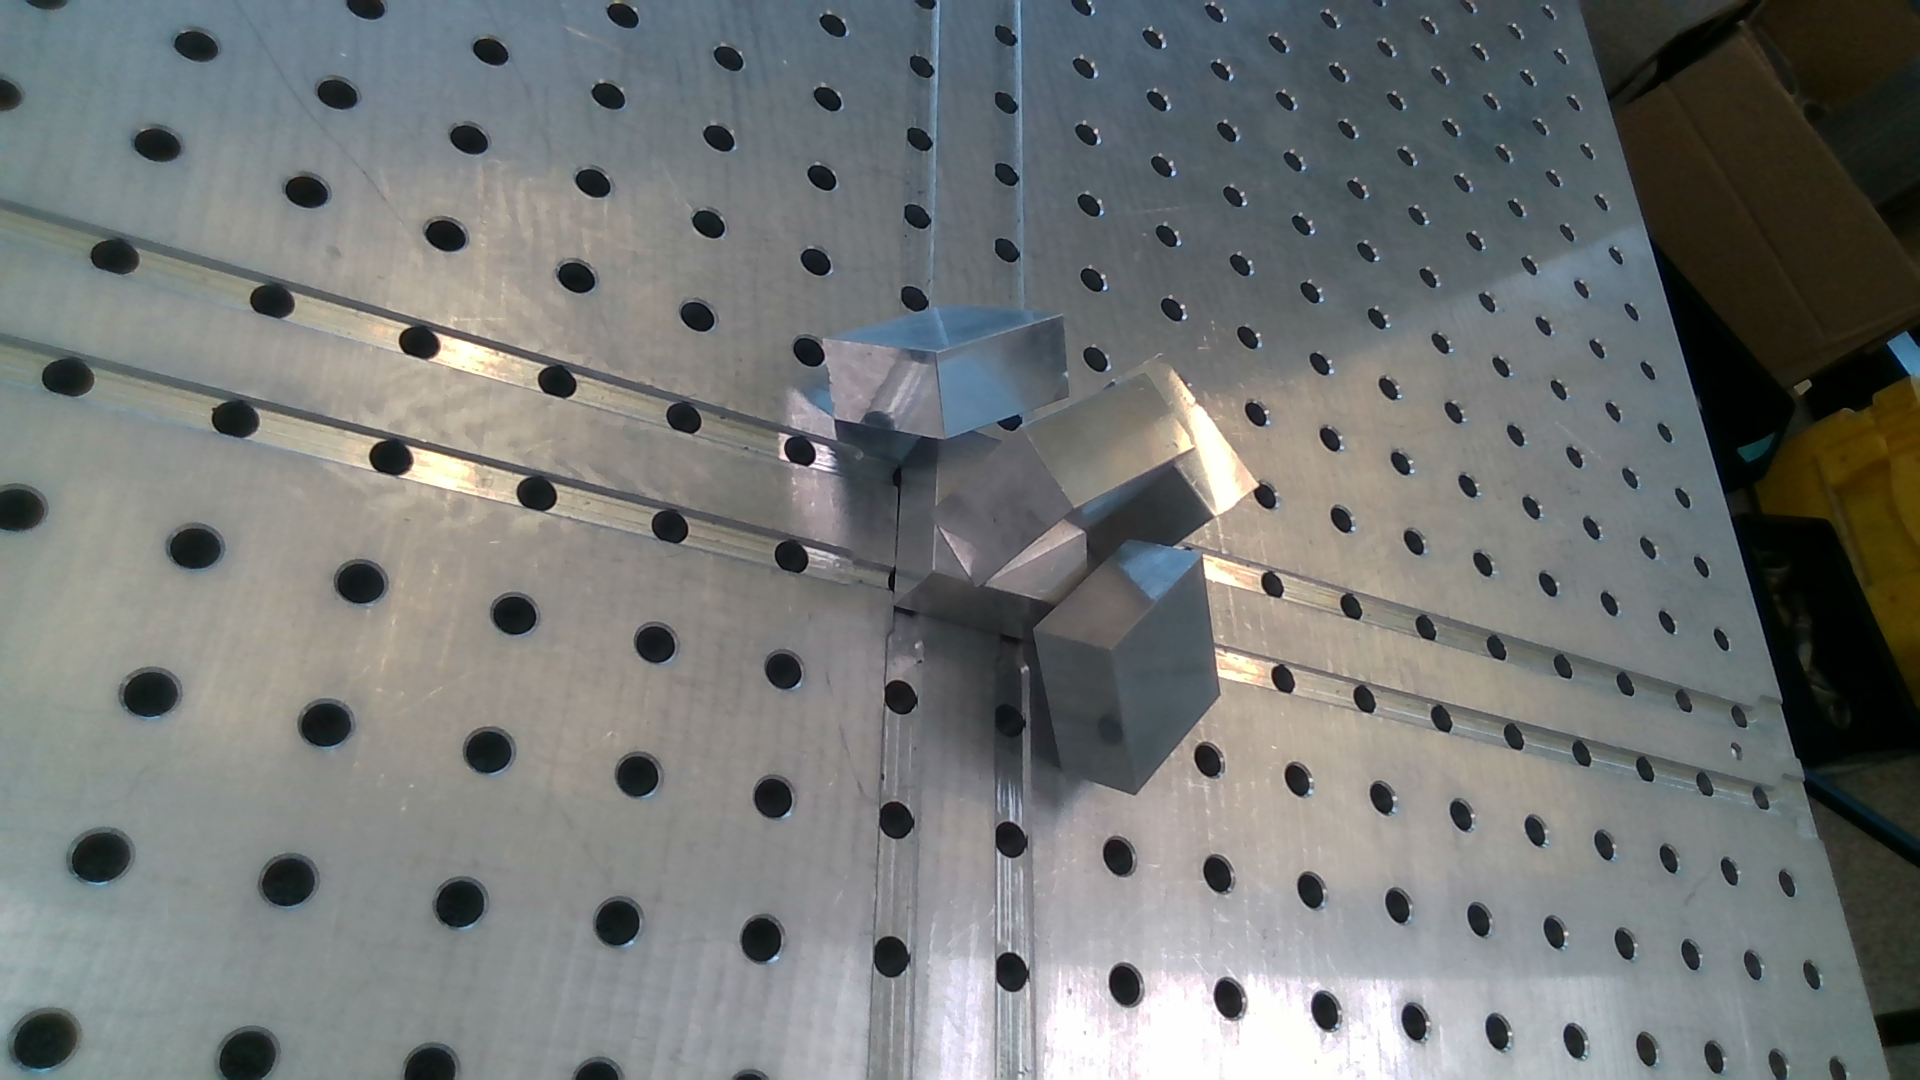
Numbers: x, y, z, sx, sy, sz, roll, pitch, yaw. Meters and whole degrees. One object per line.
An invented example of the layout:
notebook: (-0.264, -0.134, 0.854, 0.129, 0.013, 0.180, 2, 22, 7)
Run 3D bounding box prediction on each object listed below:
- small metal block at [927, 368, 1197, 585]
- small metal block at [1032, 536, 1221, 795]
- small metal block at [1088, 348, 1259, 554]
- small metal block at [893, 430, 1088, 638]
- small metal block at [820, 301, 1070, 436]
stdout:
small metal block: (0.027, -0.017, 0.373, 0.050, 0.050, 0.025, -25, 81, -38)
small metal block: (0.049, 0.034, 0.390, 0.050, 0.025, 0.050, -40, 129, -39)
small metal block: (0.055, -0.022, 0.426, 0.025, 0.050, 0.050, -32, 84, -39)
small metal block: (0.009, -0.003, 0.403, 0.050, 0.025, 0.050, 15, 60, -25)
small metal block: (-0.004, -0.052, 0.402, 0.050, 0.050, 0.025, -22, 115, -38)
